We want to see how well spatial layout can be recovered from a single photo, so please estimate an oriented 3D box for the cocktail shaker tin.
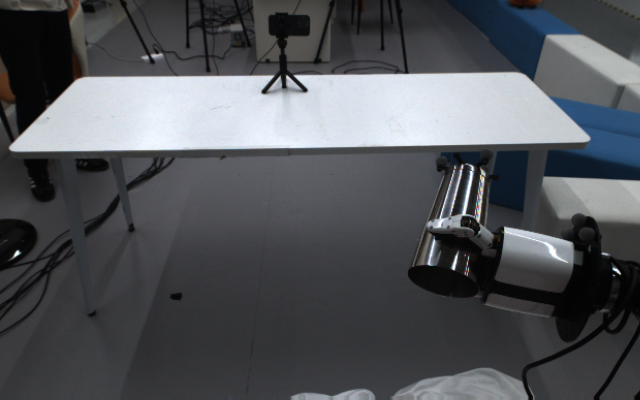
[{"bbox_3d":[0.185,0.036,0.662,0.093,0.093,0.170,13,60,16],"label":"cocktail shaker tin"}]
